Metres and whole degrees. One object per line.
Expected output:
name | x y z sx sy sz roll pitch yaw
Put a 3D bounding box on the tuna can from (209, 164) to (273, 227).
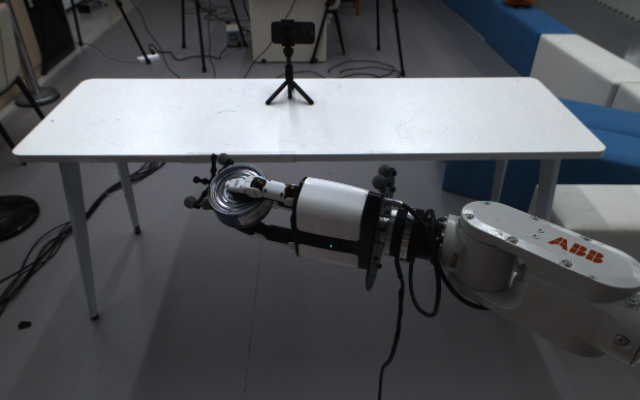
tuna can | -0.106 -0.008 0.661 0.085 0.034 0.085 -3 59 5
